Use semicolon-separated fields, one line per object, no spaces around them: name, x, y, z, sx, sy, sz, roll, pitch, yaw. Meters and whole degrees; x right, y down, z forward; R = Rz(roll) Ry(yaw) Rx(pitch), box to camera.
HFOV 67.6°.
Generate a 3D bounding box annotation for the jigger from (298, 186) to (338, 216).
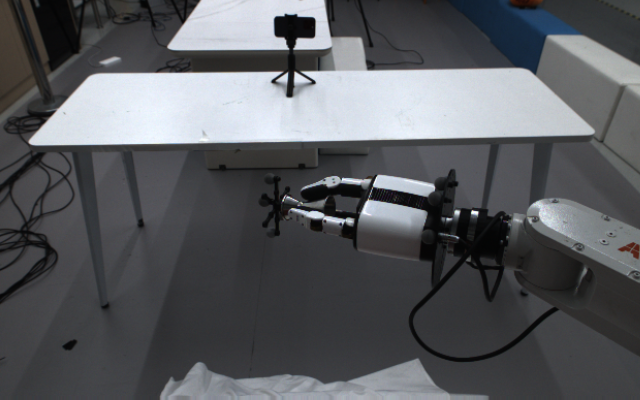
jigger;-0.011;0.010;0.692;0.071;0.043;0.043;4;33;23
